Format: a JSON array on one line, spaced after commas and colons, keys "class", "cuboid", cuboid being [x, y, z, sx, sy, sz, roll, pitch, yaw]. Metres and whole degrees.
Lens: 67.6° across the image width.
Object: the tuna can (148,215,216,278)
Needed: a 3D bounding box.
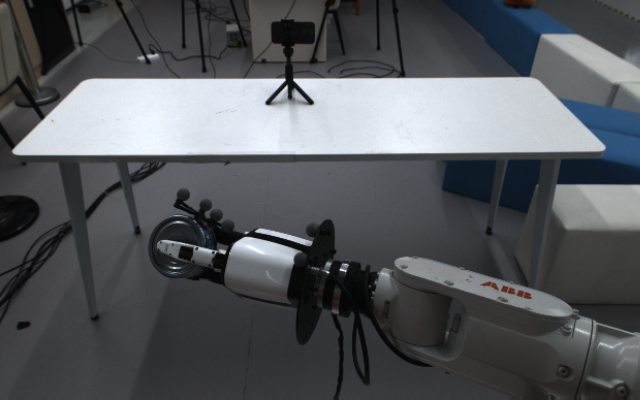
[{"class": "tuna can", "cuboid": [-0.183, 0.063, 0.649, 0.085, 0.085, 0.034, 12, -4, 14]}]
